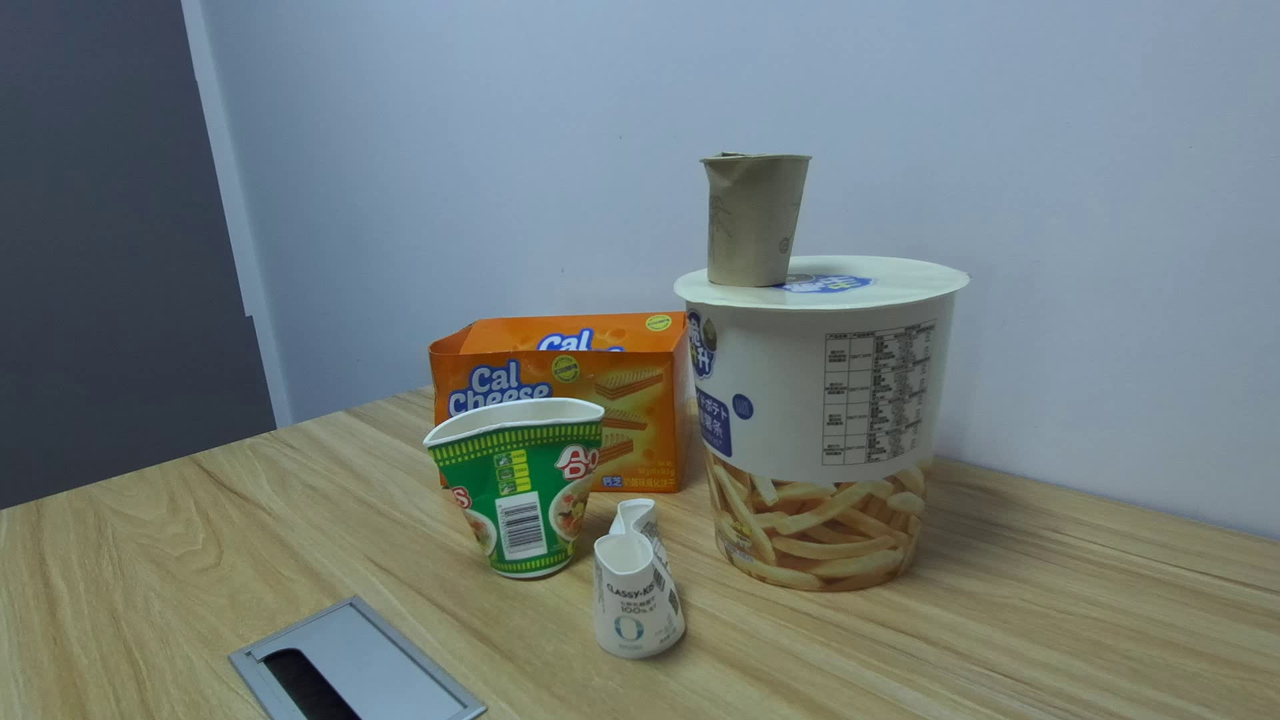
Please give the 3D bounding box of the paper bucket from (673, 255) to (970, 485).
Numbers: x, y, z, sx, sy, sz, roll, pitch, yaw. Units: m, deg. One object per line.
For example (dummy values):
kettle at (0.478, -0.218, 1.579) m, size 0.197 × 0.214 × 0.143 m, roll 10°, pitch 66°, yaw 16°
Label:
paper bucket at (0.121, 0.036, 0.497) m, size 0.198 × 0.194 × 0.198 m, roll -3°, pitch 17°, yaw 1°

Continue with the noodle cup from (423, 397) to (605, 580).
noodle cup at (-0.080, 0.090, 0.506) m, size 0.115 × 0.111 × 0.070 m, roll -2°, pitch 18°, yaw 8°

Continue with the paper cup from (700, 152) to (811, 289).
paper cup at (0.075, -0.093, 0.469) m, size 0.071 × 0.084 × 0.066 m, roll 4°, pitch 17°, yaw 14°

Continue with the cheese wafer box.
cheese wafer box at (-0.069, 0.037, 0.667) m, size 0.230 × 0.132 × 0.152 m, roll 0°, pitch 18°, yaw 10°
